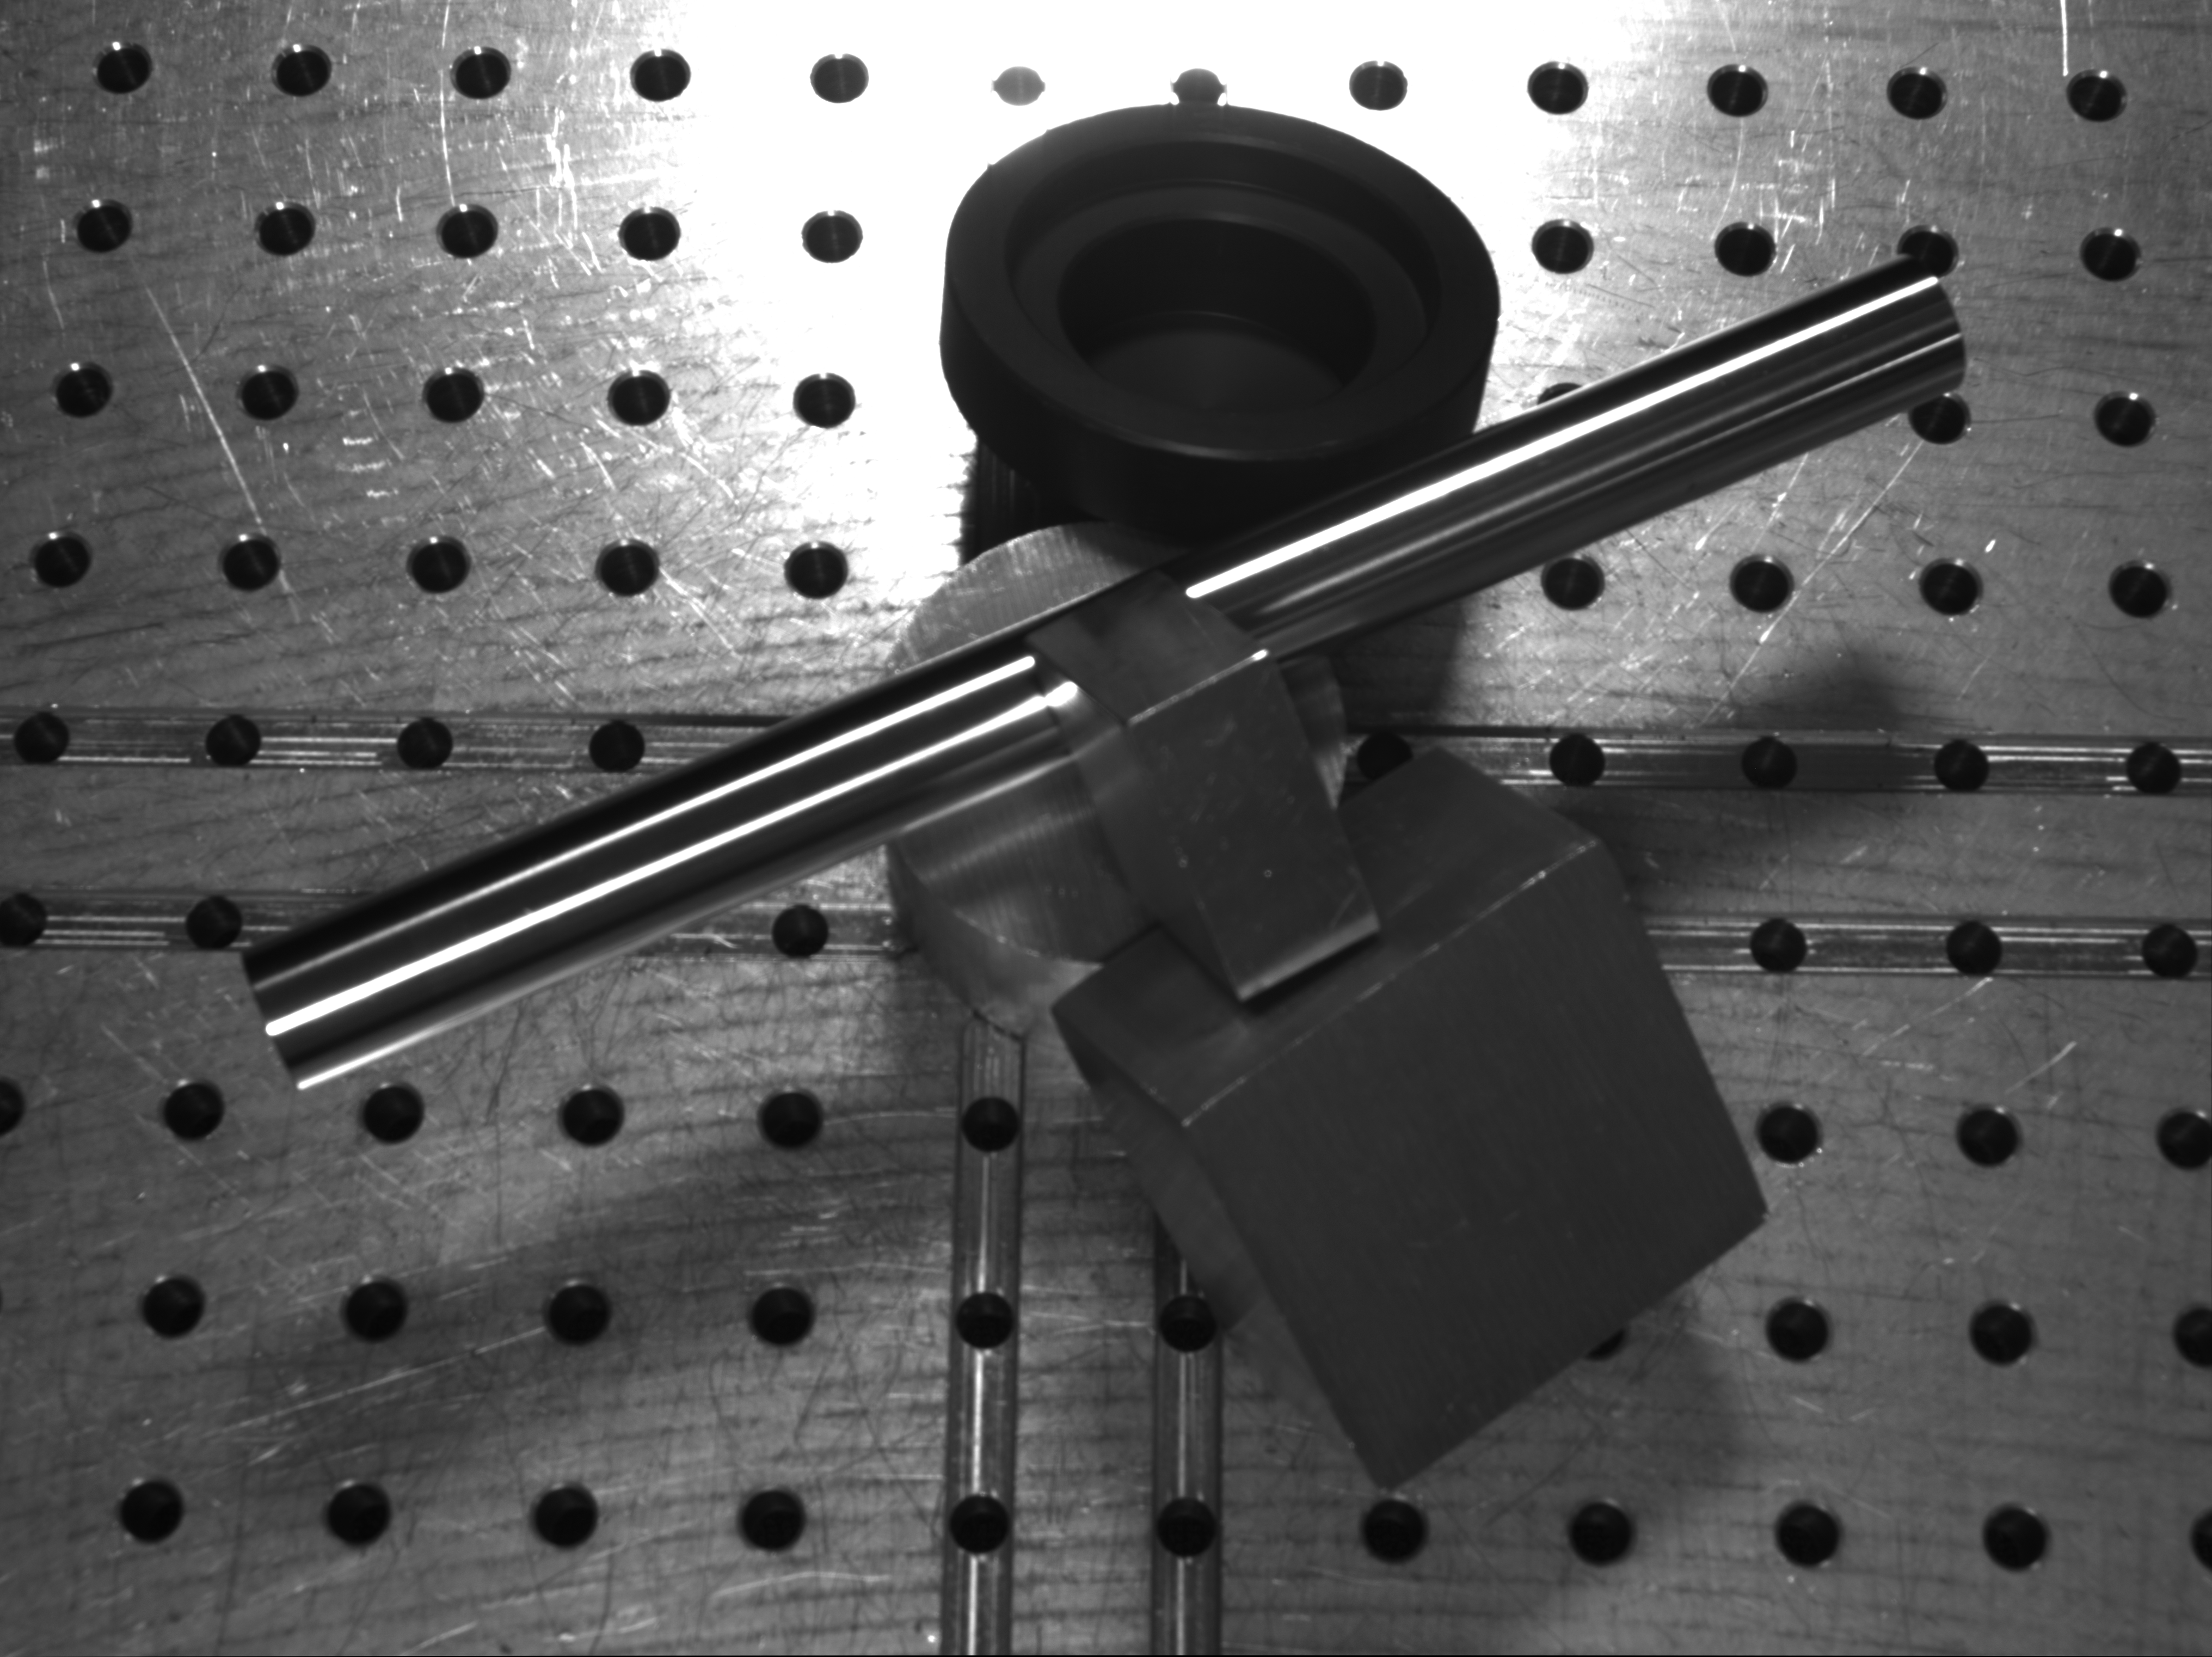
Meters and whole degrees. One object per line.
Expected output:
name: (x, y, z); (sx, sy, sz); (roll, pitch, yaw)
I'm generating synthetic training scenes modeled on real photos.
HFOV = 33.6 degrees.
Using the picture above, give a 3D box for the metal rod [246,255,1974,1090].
metal rod: (0.005, -0.028, 0.604); (0.300, 0.025, 0.025); (-23, 71, -8)

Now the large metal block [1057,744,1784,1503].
large metal block: (0.051, 0.047, 0.592); (0.080, 0.050, 0.080); (-33, 118, -11)

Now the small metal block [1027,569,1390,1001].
small metal block: (0.015, -0.008, 0.572); (0.025, 0.050, 0.050); (-28, 114, -10)

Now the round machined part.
round machined part: (0.020, -0.084, 0.657); (0.098, 0.042, 0.098); (4, 47, -4)

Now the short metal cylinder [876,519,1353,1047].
short metal cylinder: (0.001, -0.007, 0.636); (0.080, 0.050, 0.080); (0, 70, 0)
